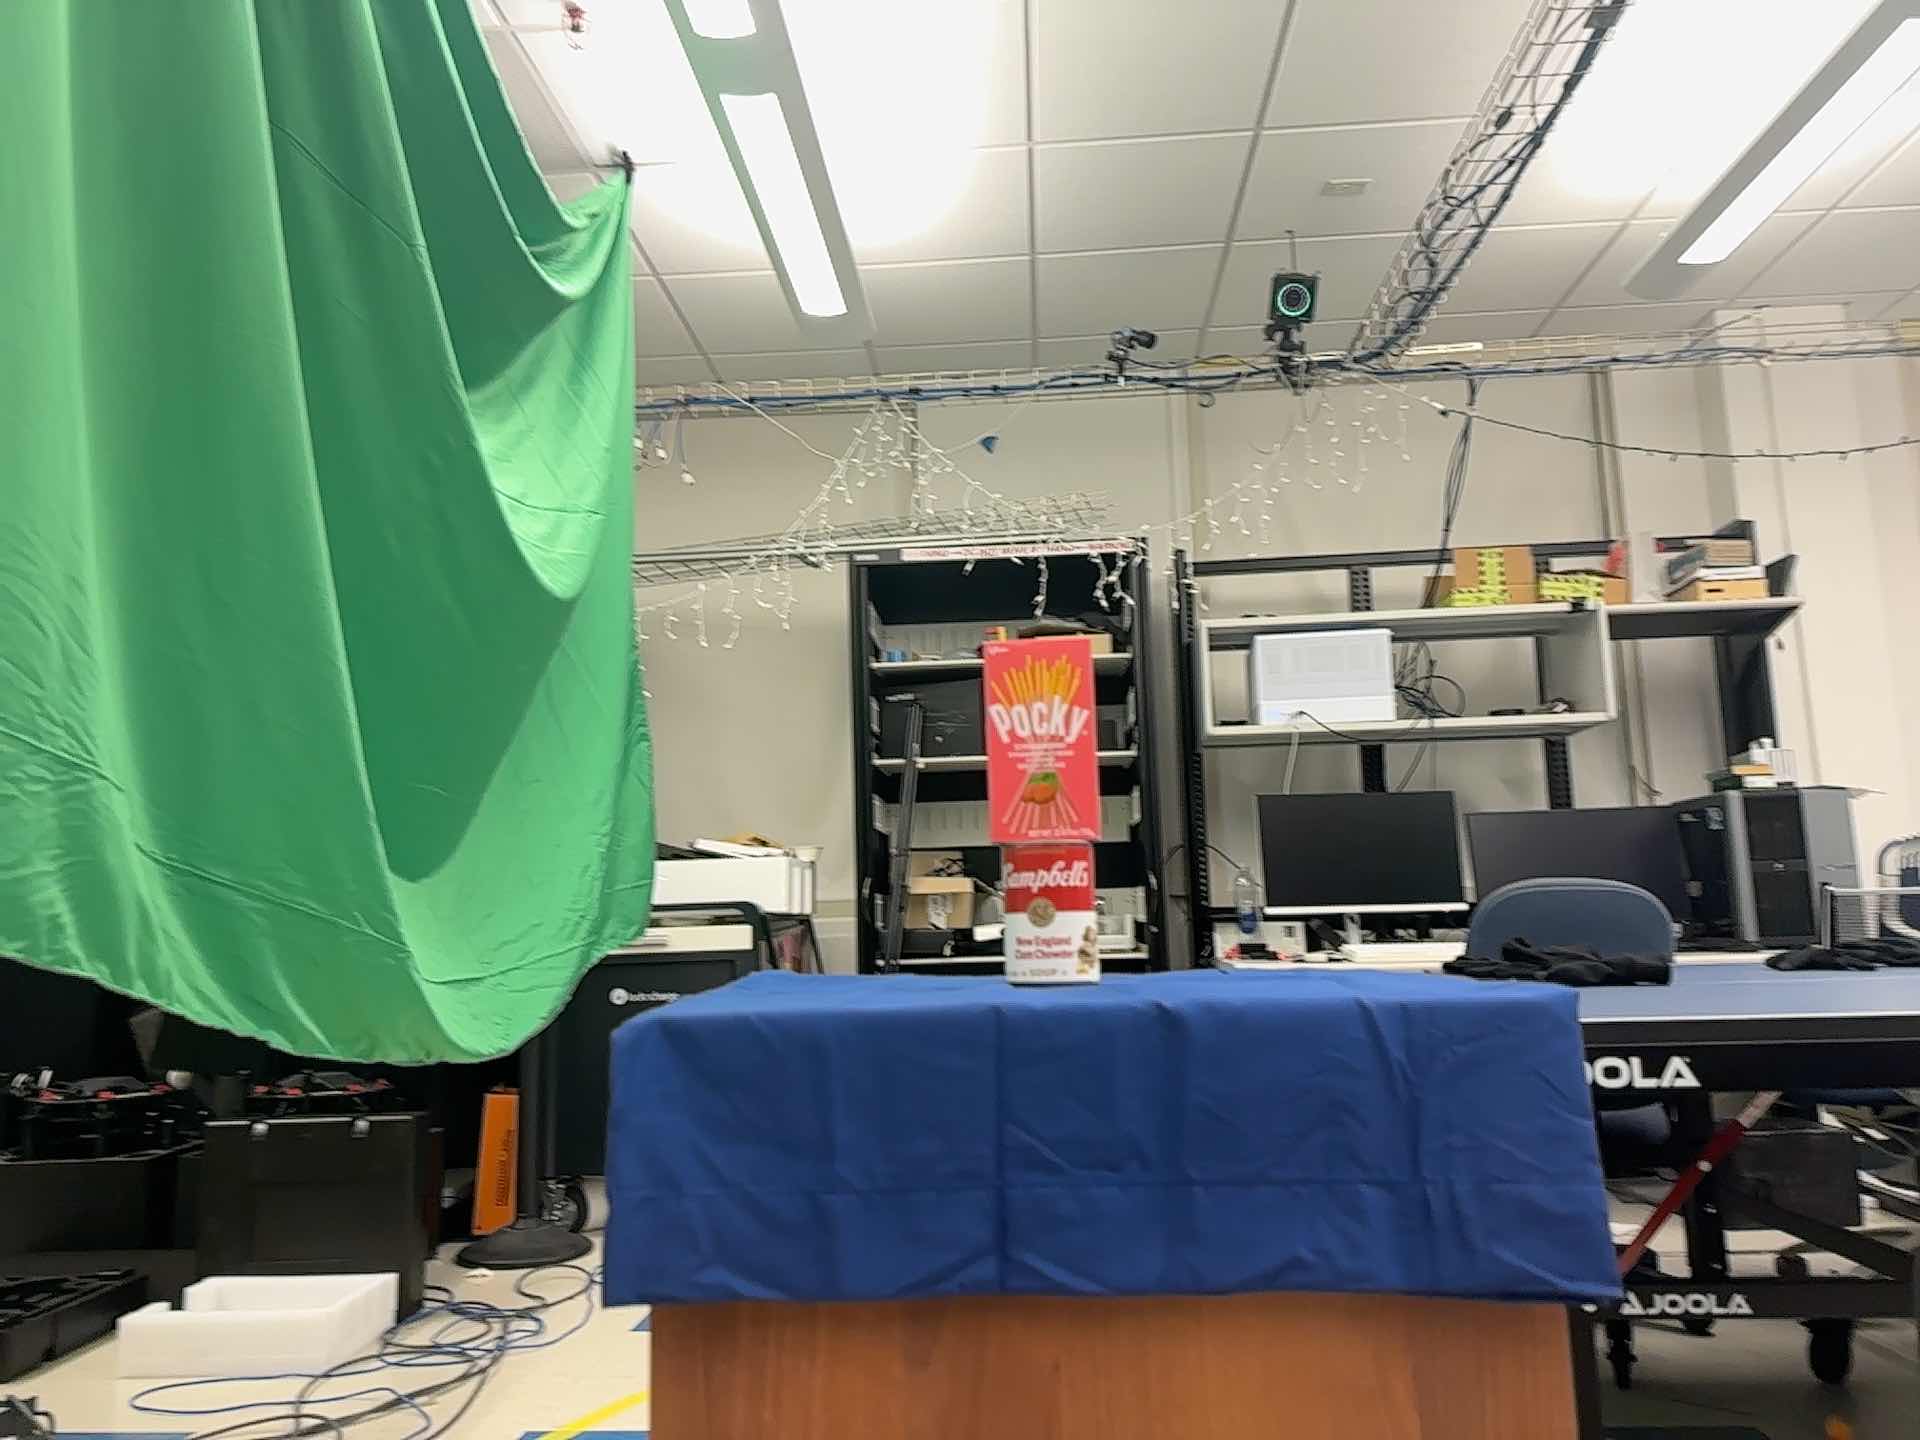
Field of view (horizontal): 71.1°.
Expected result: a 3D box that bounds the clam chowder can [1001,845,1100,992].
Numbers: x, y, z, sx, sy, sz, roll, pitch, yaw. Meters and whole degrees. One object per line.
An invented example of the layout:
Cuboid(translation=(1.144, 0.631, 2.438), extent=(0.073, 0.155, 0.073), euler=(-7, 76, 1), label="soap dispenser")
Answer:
Cuboid(translation=(0.065, 0.143, 0.969), extent=(0.068, 0.102, 0.068), euler=(-1, -9, 0), label="clam chowder can")

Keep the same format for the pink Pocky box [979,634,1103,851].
Cuboid(translation=(0.058, 0.016, 0.984), extent=(0.084, 0.155, 0.029), euler=(-3, -8, 8), label="pink Pocky box")
